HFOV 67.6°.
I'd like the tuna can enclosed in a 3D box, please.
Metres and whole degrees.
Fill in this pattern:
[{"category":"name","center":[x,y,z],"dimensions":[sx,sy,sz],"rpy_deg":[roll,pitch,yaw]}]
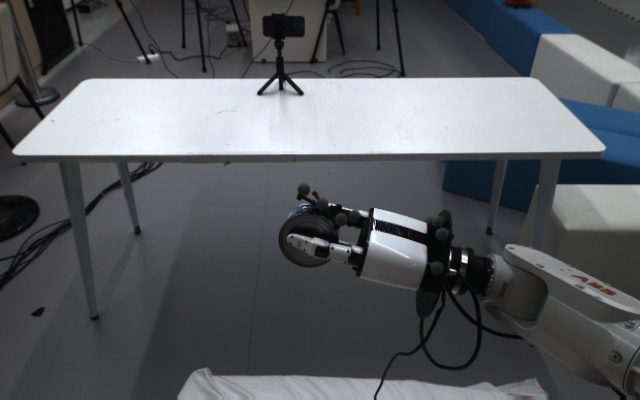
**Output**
[{"category":"tuna can","center":[-0.014,0.052,0.694],"dimensions":[0.085,0.085,0.034],"rpy_deg":[4,20,3]}]
